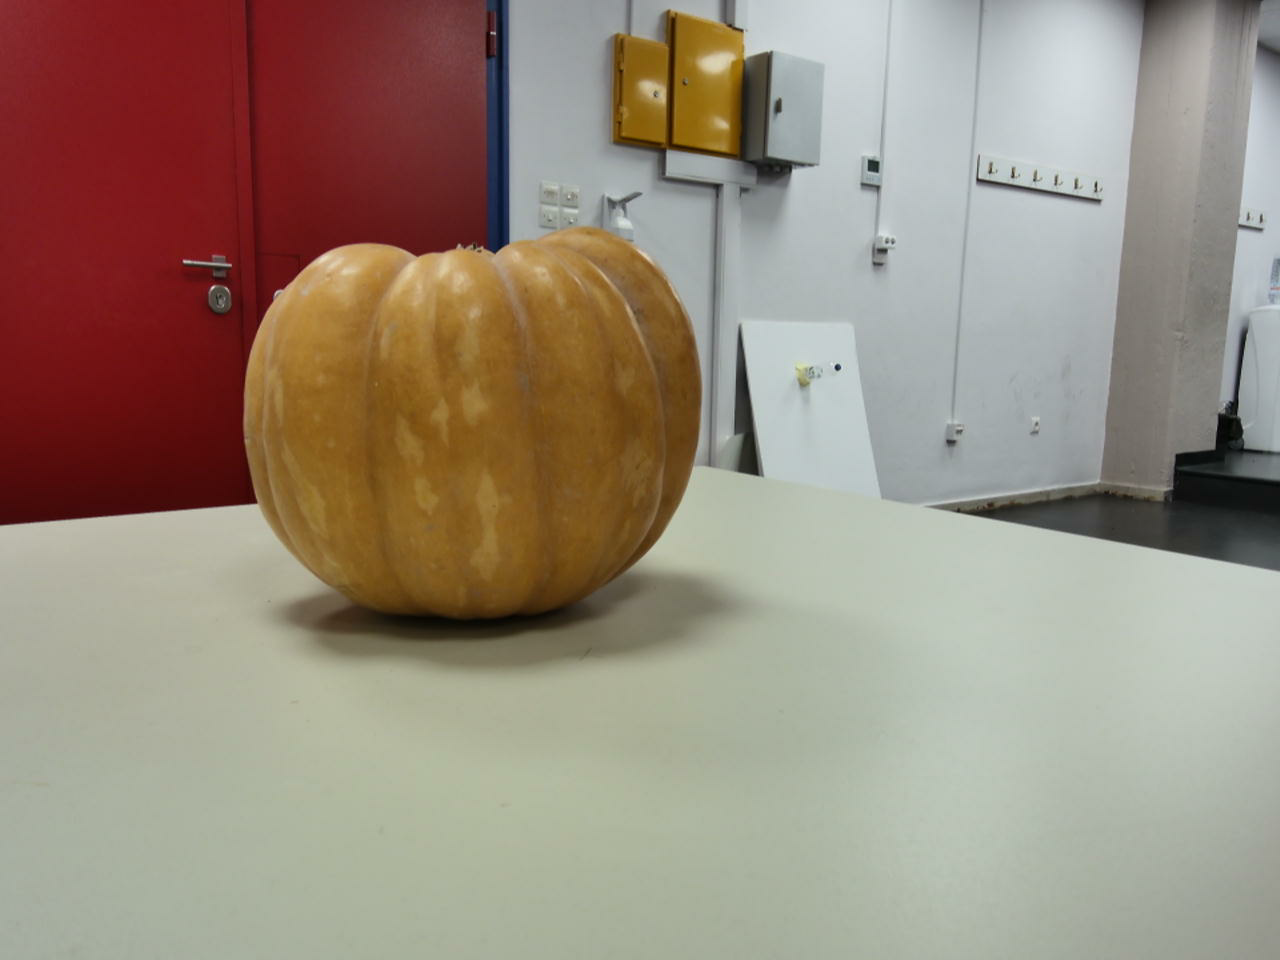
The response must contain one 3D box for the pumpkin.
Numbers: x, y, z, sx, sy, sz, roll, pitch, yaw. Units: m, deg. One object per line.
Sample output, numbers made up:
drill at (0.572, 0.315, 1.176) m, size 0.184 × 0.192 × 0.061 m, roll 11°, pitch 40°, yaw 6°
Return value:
pumpkin at (-0.080, -0.030, 0.509) m, size 0.230 × 0.194 × 0.230 m, roll 1°, pitch 6°, yaw 0°
